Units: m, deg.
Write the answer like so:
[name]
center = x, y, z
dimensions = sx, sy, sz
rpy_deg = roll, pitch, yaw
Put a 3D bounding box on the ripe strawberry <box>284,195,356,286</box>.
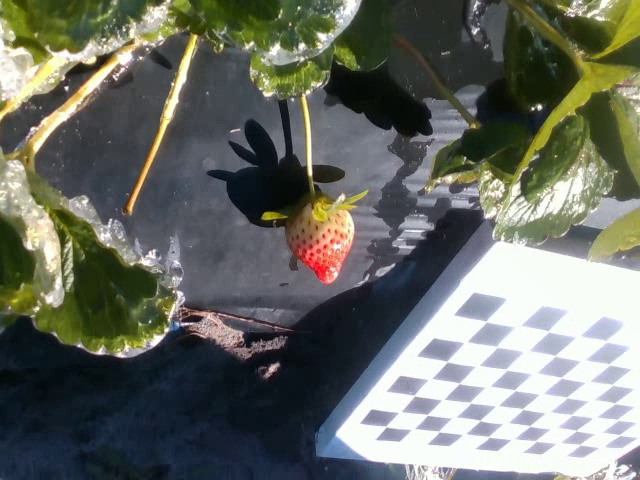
[ripe strawberry]
center = 0.002, 0.001, 0.301
dimensions = 0.039, 0.053, 0.041
rpy_deg = -4, 30, -3
